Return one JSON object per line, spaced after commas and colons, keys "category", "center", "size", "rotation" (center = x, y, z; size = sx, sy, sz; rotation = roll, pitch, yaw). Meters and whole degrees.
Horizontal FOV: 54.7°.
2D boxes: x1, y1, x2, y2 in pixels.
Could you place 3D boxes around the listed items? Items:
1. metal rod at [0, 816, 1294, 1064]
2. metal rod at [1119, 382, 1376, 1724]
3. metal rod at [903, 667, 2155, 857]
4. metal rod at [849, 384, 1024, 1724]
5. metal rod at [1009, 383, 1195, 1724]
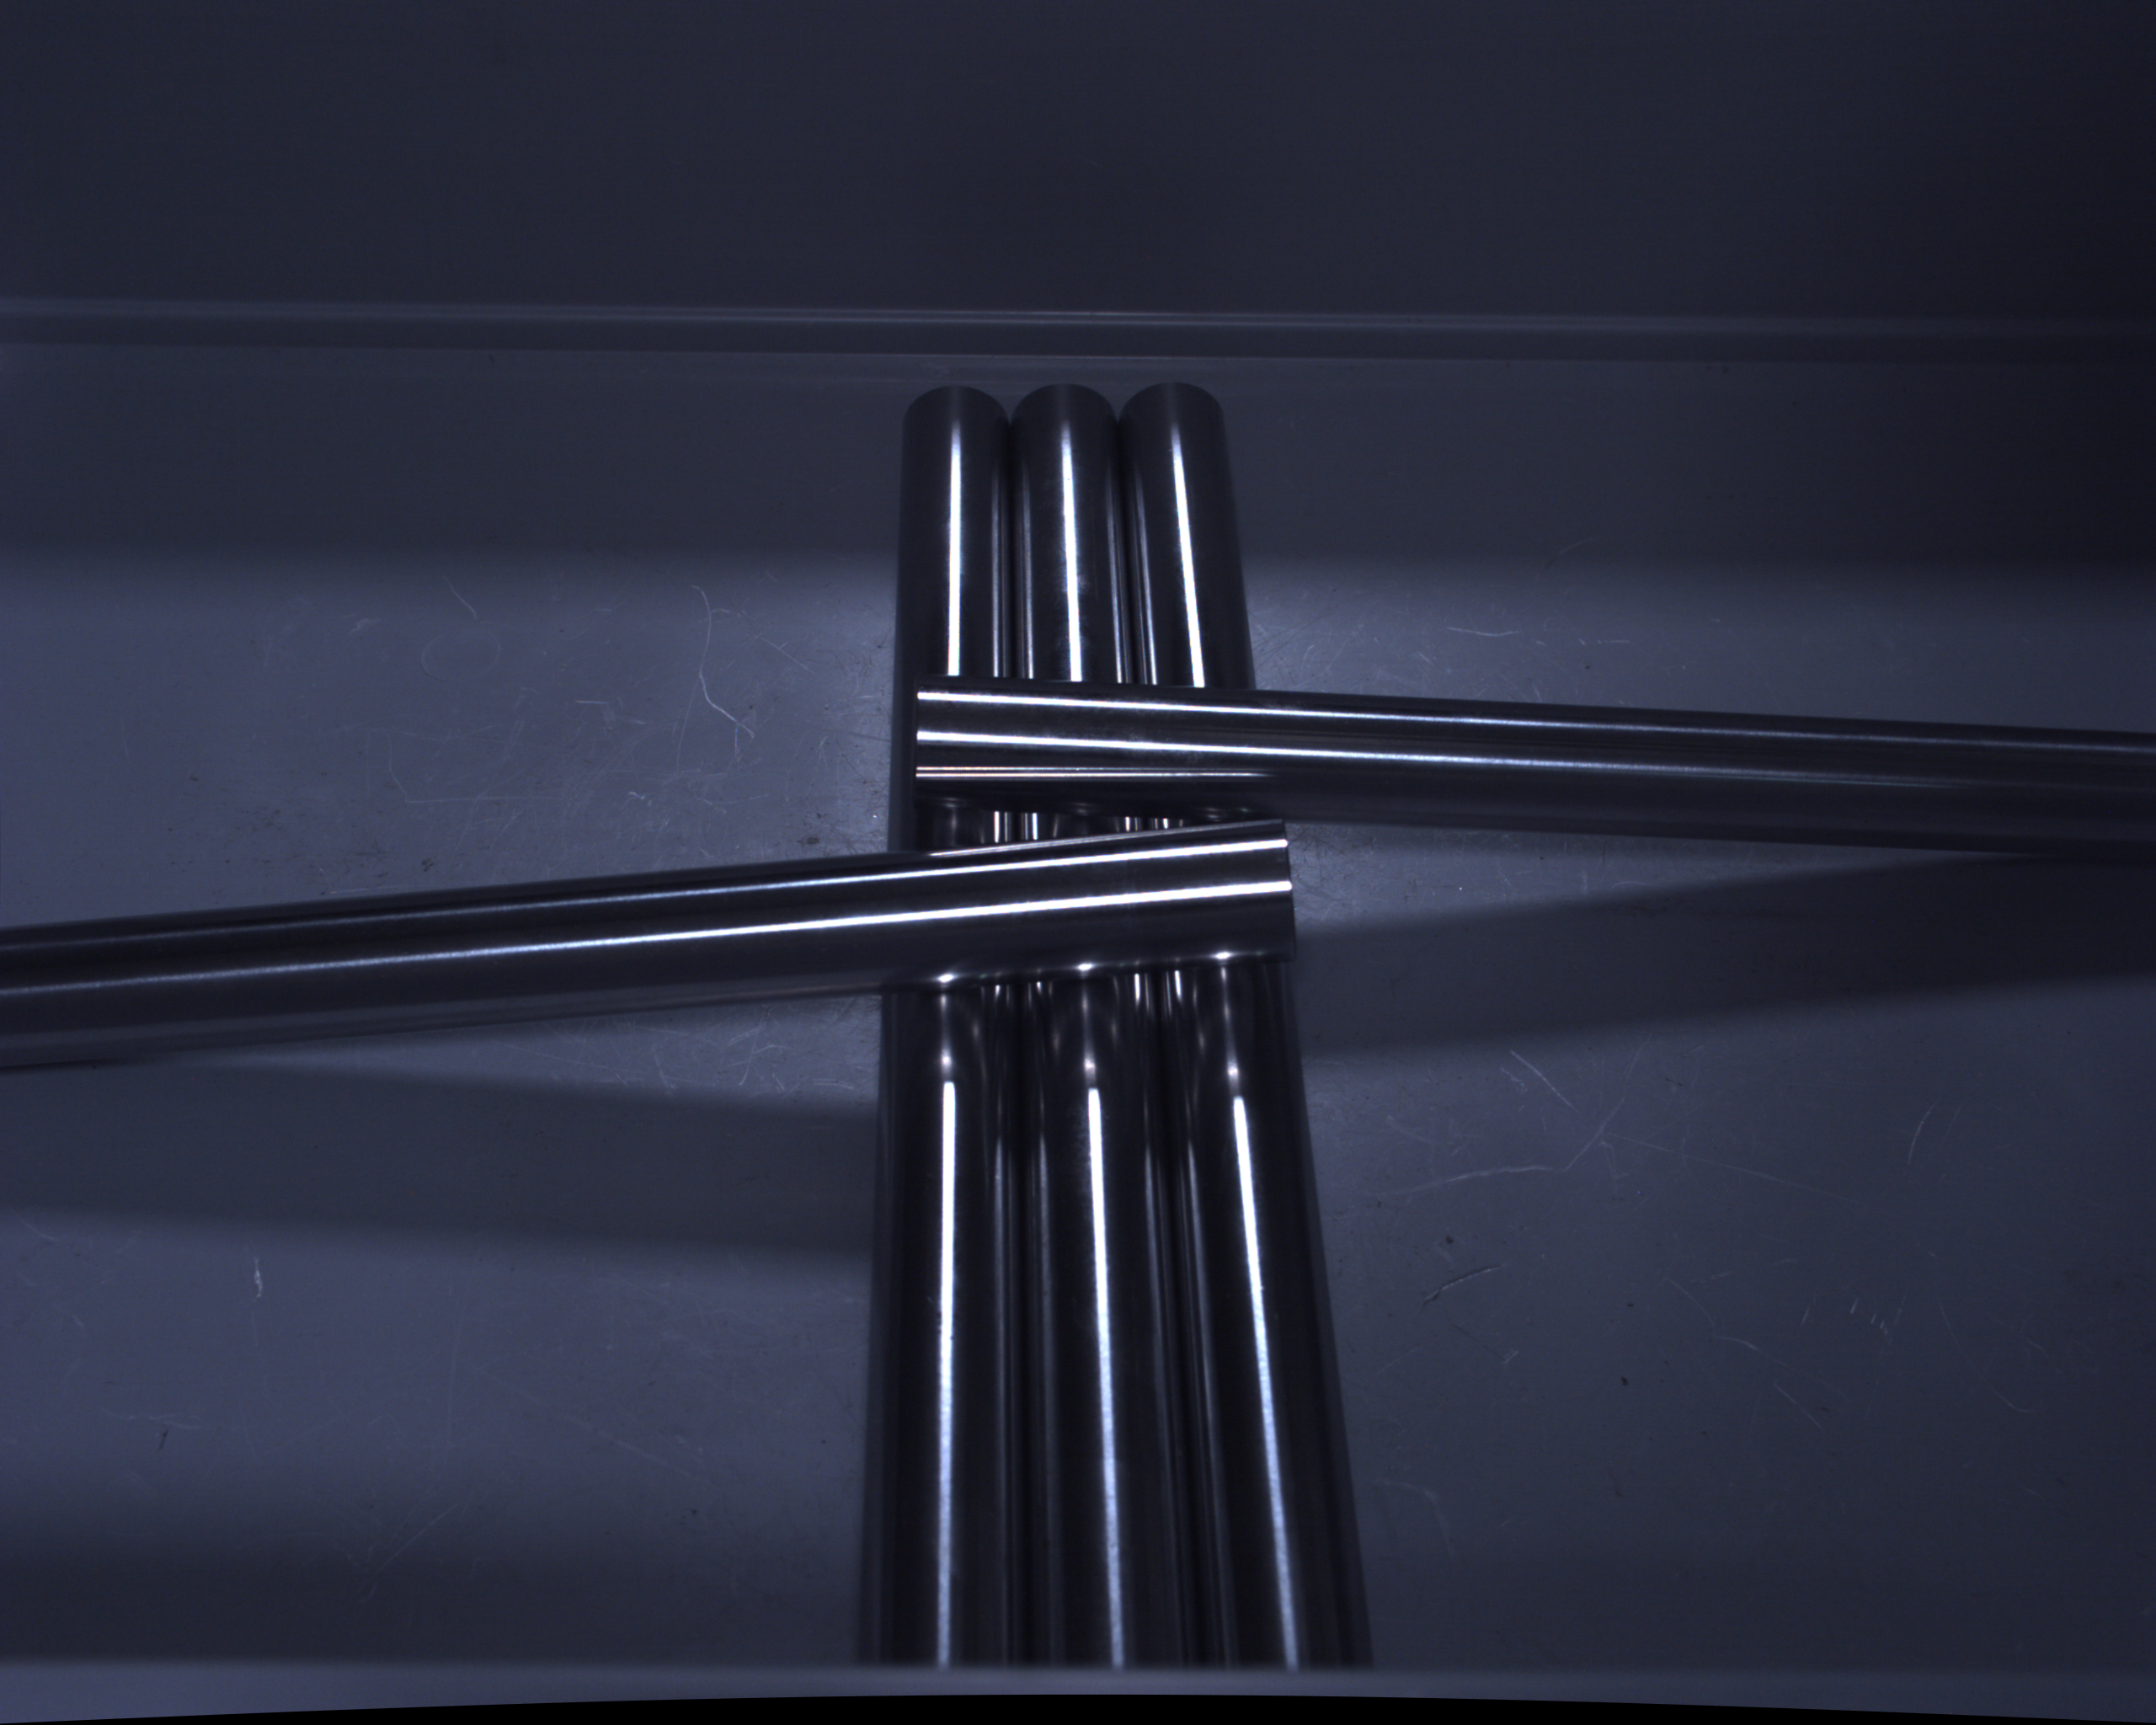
{"category": "metal rod", "center": [-0.114, 0.017, 0.367], "size": [0.302, 0.025, 0.025], "rotation": [-5, 50, 3]}
{"category": "metal rod", "center": [0.026, 0.012, 0.394], "size": [0.025, 0.025, 0.300], "rotation": [-1, 50, -1]}
{"category": "metal rod", "center": [0.119, -0.017, 0.397], "size": [0.302, 0.025, 0.025], "rotation": [2, 50, -7]}
{"category": "metal rod", "center": [-0.024, 0.013, 0.392], "size": [0.025, 0.025, 0.300], "rotation": [-1, 50, -1]}
{"category": "metal rod", "center": [0.000, 0.012, 0.393], "size": [0.025, 0.025, 0.300], "rotation": [-1, 50, -1]}
